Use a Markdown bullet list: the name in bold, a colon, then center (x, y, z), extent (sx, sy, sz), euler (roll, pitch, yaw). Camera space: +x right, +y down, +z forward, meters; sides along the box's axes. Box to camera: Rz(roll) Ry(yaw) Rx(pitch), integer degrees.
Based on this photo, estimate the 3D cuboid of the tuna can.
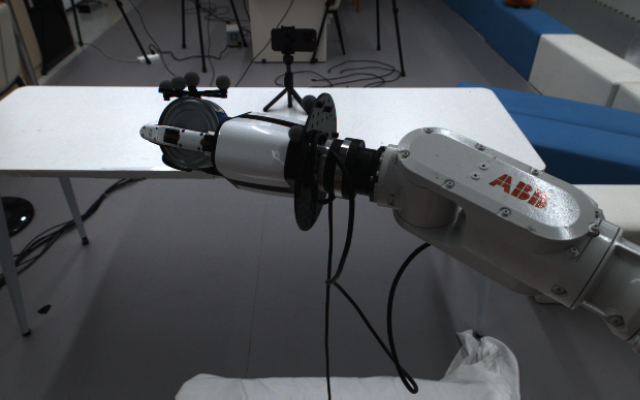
- **tuna can**: center (-0.150, -0.080, 0.589), extent (0.085, 0.085, 0.034), euler (15, 9, 18)
